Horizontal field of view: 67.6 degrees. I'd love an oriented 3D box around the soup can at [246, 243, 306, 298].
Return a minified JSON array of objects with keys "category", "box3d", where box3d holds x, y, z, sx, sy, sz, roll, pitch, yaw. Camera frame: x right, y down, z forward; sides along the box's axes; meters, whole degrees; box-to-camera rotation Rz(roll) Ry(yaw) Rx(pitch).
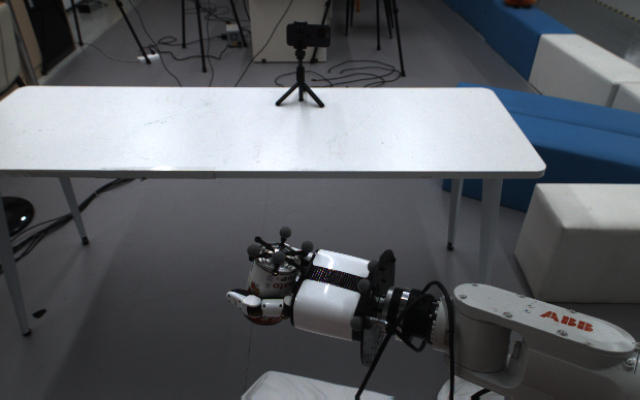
[{"category":"soup can","box3d":[-0.070,0.121,0.693,0.067,0.101,0.067,13,31,-8]}]
